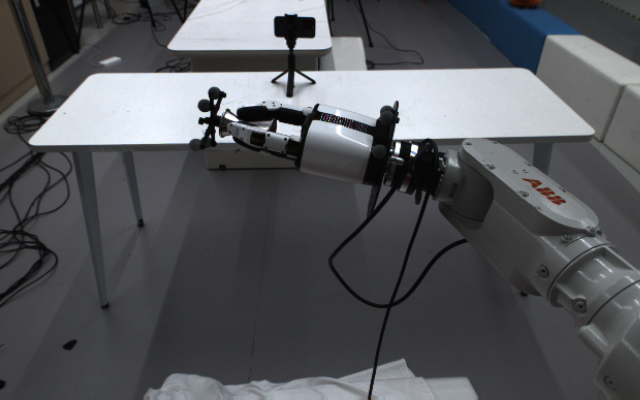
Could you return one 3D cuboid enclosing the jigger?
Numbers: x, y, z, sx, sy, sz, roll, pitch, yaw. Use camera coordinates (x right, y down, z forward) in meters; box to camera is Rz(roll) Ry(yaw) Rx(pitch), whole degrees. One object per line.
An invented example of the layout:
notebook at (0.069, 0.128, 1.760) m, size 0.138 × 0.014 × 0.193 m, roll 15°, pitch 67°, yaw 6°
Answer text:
jigger at (-0.091, -0.098, 0.654) m, size 0.071 × 0.043 × 0.043 m, roll 14°, pitch 36°, yaw 4°
